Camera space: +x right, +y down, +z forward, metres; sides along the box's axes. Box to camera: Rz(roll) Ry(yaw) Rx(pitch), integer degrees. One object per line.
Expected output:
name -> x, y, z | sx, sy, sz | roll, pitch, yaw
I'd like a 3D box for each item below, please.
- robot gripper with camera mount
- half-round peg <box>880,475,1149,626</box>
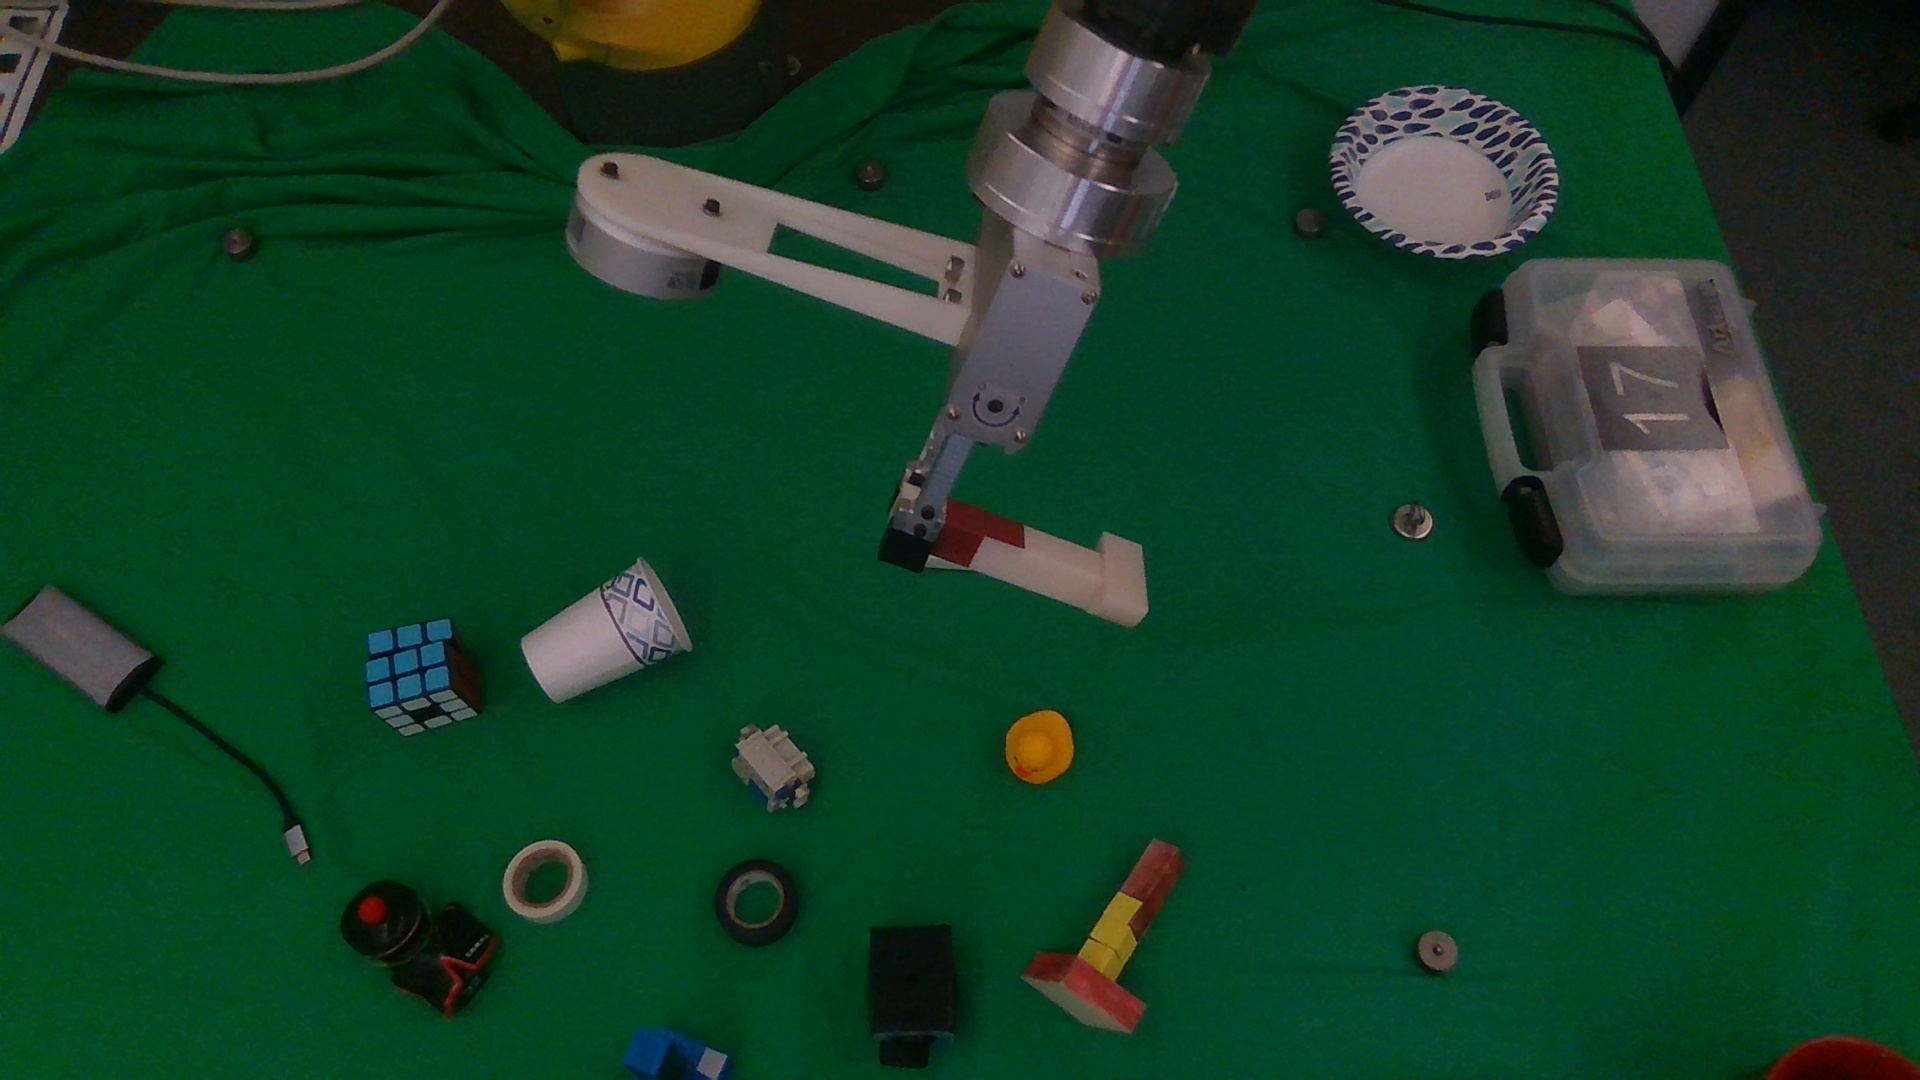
robot gripper with camera mount -> -0.070, -0.083, 0.557 | 0.193, 0.159, 0.119 | 20, 36, -11
half-round peg -> 0.023, 0.003, 0.618 | 0.122, 0.031, 0.054 | 21, 32, -13
